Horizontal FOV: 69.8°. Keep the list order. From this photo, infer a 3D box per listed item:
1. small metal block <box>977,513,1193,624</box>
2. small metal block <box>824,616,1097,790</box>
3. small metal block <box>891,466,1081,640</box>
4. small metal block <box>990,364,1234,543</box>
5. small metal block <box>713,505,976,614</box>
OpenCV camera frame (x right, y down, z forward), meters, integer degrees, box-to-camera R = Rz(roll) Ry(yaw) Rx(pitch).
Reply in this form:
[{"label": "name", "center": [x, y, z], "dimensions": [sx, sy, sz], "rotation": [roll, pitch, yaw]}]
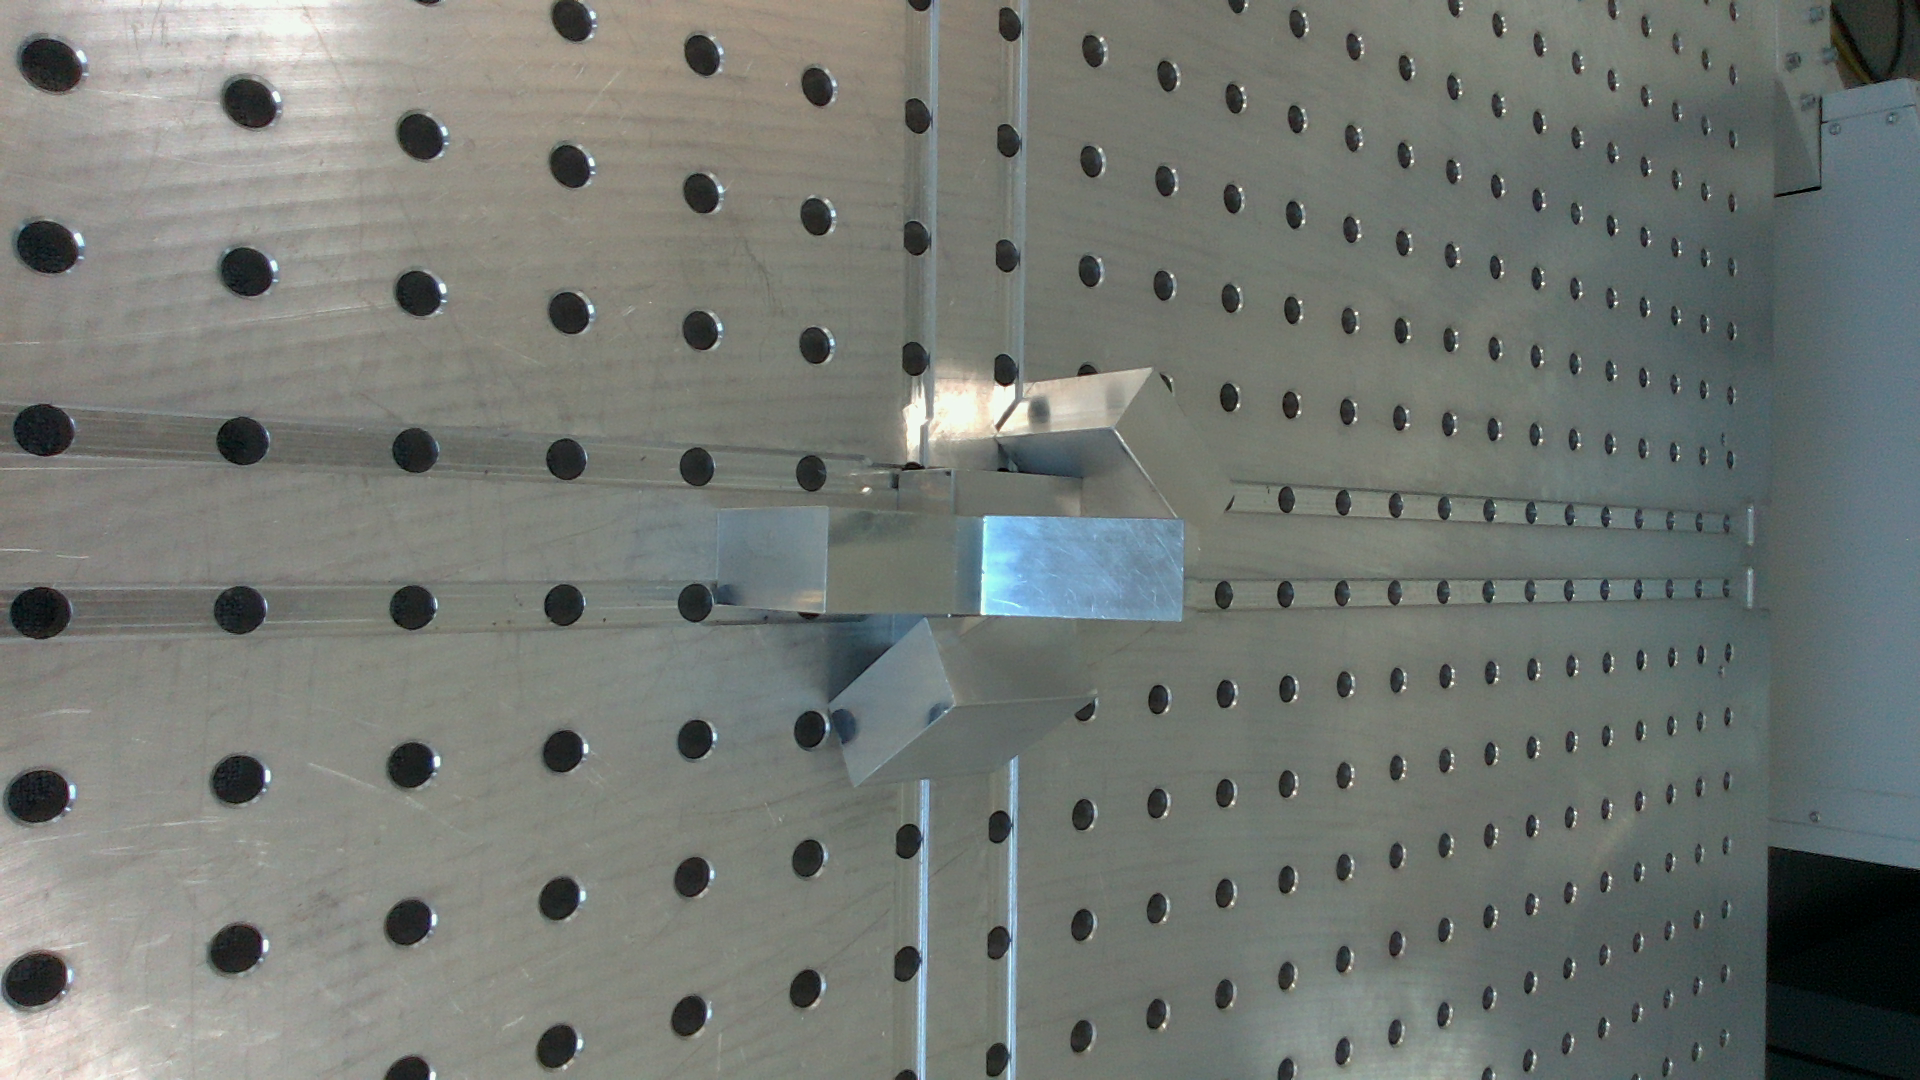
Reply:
[{"label": "small metal block", "center": [0.035, 0.008, 0.359], "dimensions": [0.050, 0.050, 0.025], "rotation": [8, 84, -77]}, {"label": "small metal block", "center": [0.000, 0.043, 0.372], "dimensions": [0.050, 0.050, 0.025], "rotation": [2, 57, -40]}, {"label": "small metal block", "center": [0.008, 0.006, 0.398], "dimensions": [0.050, 0.025, 0.050], "rotation": [2, 89, -41]}, {"label": "small metal block", "center": [0.046, -0.023, 0.413], "dimensions": [0.050, 0.050, 0.025], "rotation": [51, 60, -28]}, {"label": "small metal block", "center": [-0.028, 0.005, 0.351], "dimensions": [0.050, 0.050, 0.025], "rotation": [2, 89, -39]}]
